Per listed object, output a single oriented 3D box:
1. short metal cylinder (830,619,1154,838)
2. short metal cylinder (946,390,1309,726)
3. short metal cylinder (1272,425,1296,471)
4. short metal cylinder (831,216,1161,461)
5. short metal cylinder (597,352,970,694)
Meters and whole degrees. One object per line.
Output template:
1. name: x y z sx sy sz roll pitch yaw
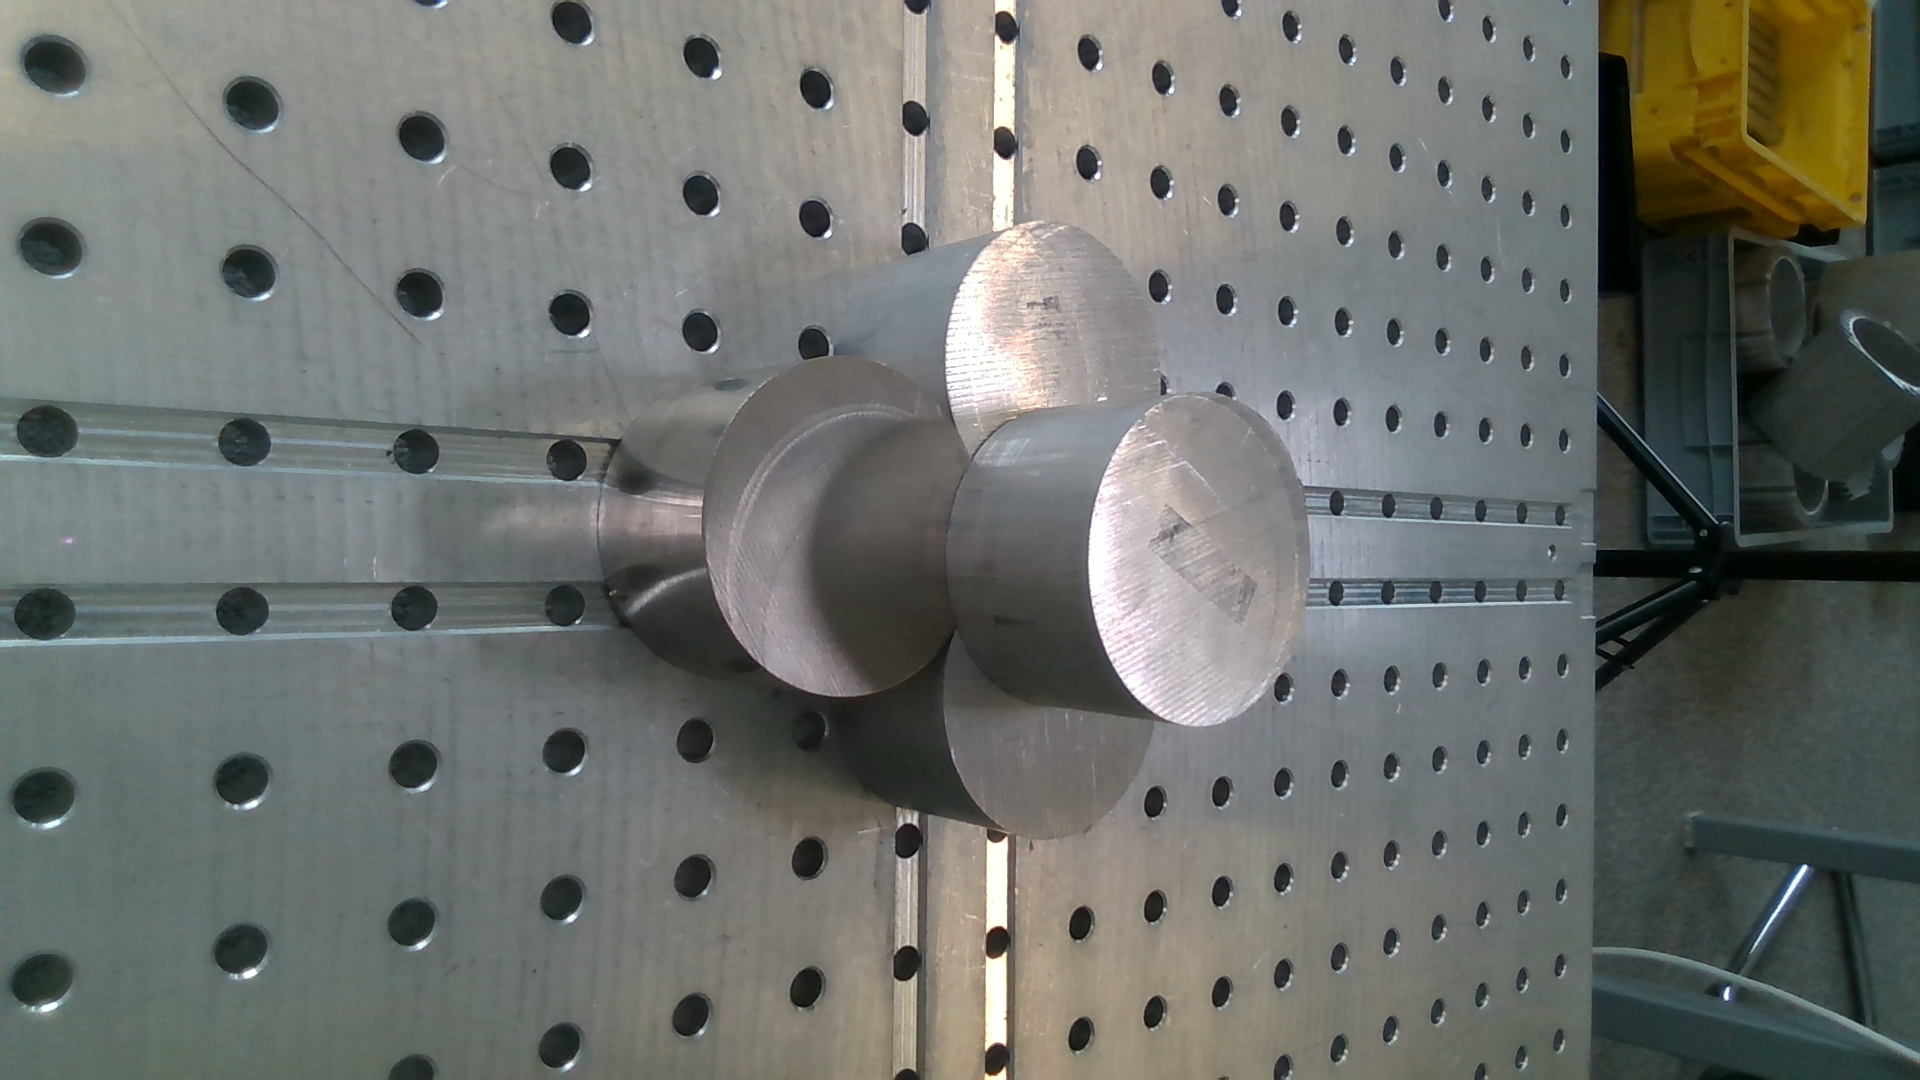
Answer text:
1. short metal cylinder: 0.011 0.039 0.386 0.080 0.050 0.080 0 90 -40
2. short metal cylinder: 0.043 0.004 0.348 0.080 0.050 0.080 0 90 -40
3. short metal cylinder: 0.063 -0.003 0.430 0.080 0.050 0.080 -1 92 -40
4. short metal cylinder: 0.011 -0.046 0.386 0.080 0.050 0.080 0 90 -40
5. short metal cylinder: -0.042 -0.004 0.342 0.080 0.050 0.080 0 91 -42
